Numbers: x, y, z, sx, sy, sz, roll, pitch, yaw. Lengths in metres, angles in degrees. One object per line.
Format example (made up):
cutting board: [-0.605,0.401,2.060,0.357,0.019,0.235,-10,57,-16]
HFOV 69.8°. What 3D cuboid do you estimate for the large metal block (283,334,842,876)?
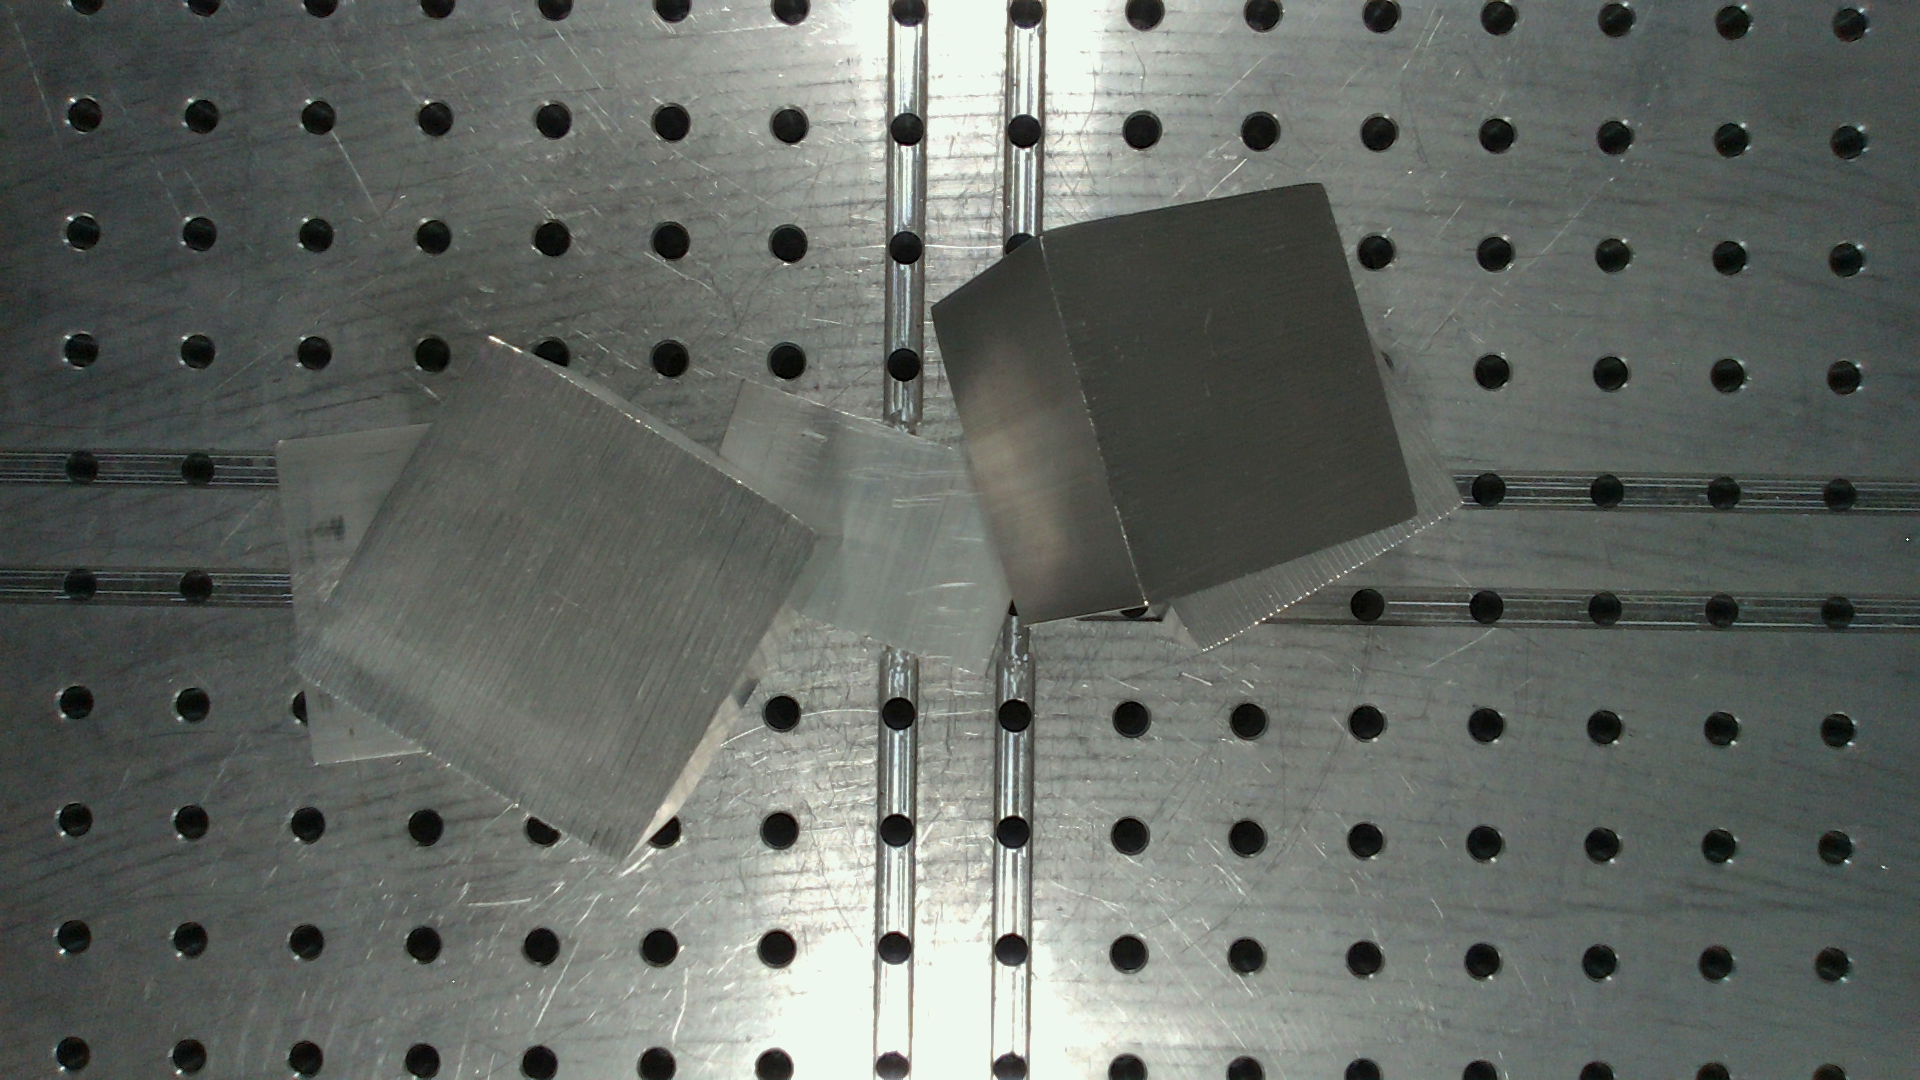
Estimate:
large metal block: [-0.082,0.013,0.304,0.080,0.050,0.080,31,90,0]

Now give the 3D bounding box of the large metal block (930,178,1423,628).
large metal block: [0.050,-0.031,0.317,0.080,0.050,0.080,-16,91,-29]

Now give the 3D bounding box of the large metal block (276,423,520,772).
large metal block: [-0.134,0.013,0.369,0.050,0.080,0.080,-6,90,0]

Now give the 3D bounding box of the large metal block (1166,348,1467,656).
large metal block: [0.078,-0.025,0.385,0.080,0.050,0.080,-30,90,0]

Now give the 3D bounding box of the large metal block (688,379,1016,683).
large metal block: [-0.022,-0.002,0.369,0.080,0.080,0.050,19,90,0]
